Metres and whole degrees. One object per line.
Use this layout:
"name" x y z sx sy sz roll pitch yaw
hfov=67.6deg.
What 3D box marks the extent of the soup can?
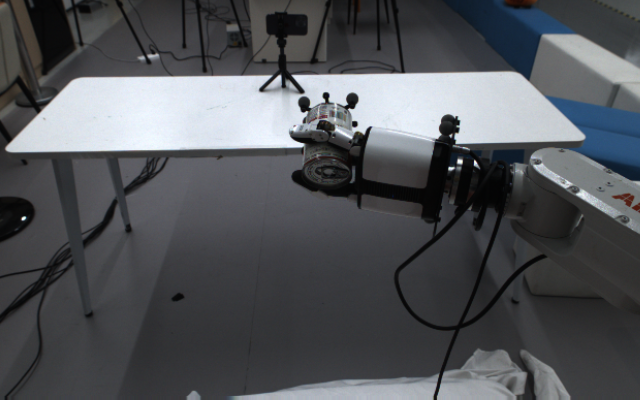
"soup can" 0.011 -0.074 0.662 0.067 0.067 0.101 3 59 1
